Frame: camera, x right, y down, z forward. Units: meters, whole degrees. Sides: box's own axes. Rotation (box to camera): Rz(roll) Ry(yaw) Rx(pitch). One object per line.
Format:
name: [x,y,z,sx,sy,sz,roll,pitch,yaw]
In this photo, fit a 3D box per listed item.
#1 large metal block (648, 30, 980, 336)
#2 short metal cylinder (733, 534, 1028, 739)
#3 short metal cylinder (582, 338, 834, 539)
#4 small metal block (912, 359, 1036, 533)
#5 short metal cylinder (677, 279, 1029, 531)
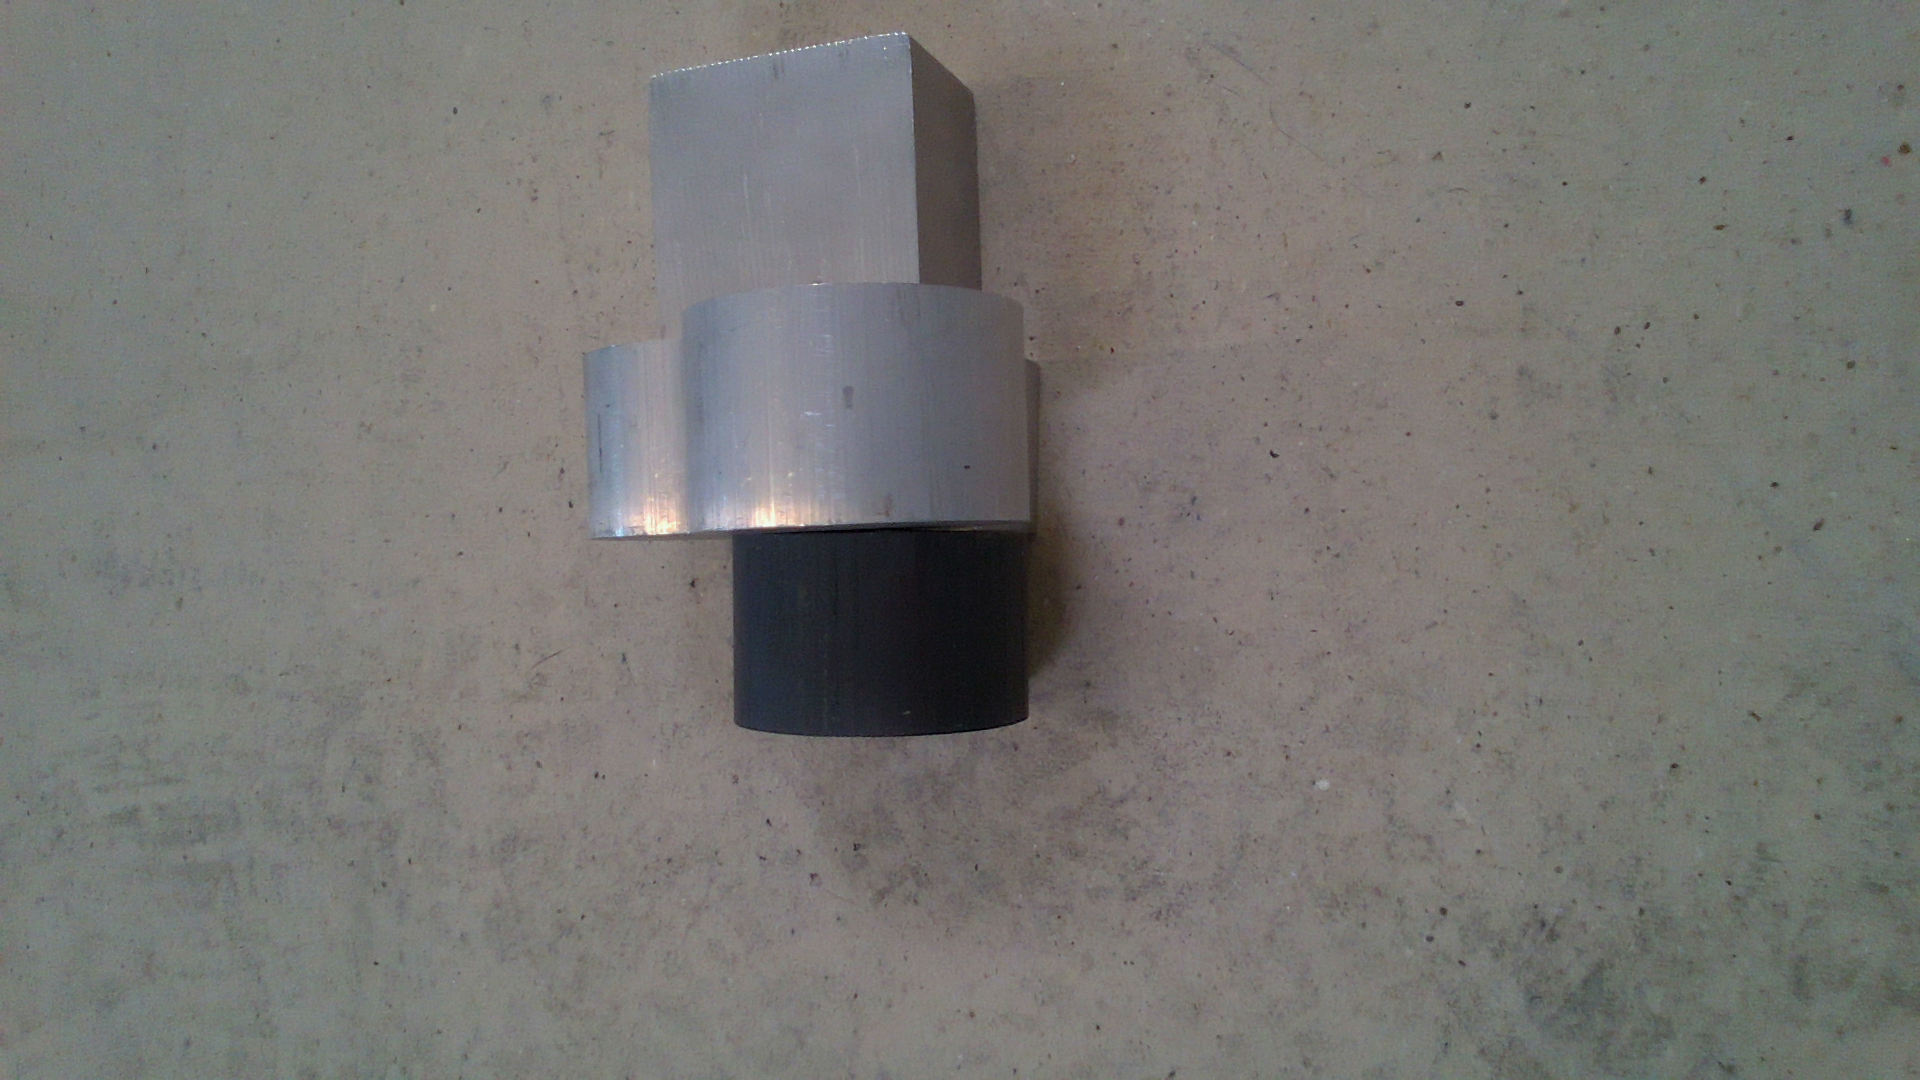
large metal block: [-0.041,-0.093,0.398,0.080,0.050,0.080,-2,89,20]
short metal cylinder: [-0.021,0.024,0.375,0.080,0.080,0.050,0,90,20]
short metal cylinder: [-0.065,-0.026,0.391,0.080,0.080,0.050,-2,89,20]
small metal block: [0.002,-0.027,0.384,0.025,0.050,0.050,1,90,20]
short metal cylinder: [-0.025,-0.028,0.323,0.080,0.080,0.050,-2,89,20]
